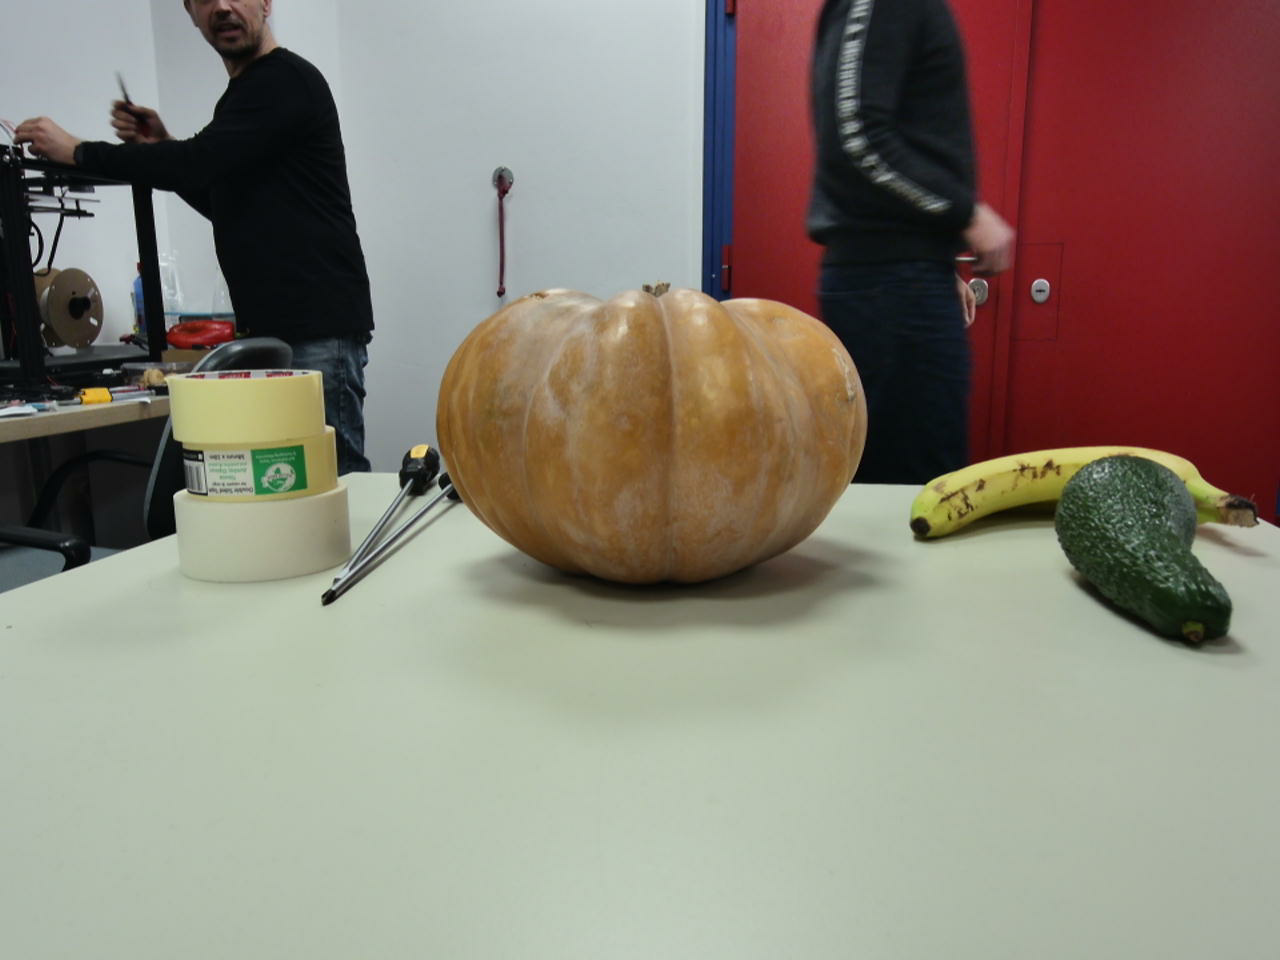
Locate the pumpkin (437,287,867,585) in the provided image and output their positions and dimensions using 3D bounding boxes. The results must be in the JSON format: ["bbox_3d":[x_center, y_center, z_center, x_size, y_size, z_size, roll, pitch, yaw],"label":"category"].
[{"bbox_3d":[0.006,-0.034,0.636,0.277,0.181,0.277,0,8,0],"label":"pumpkin"}]
